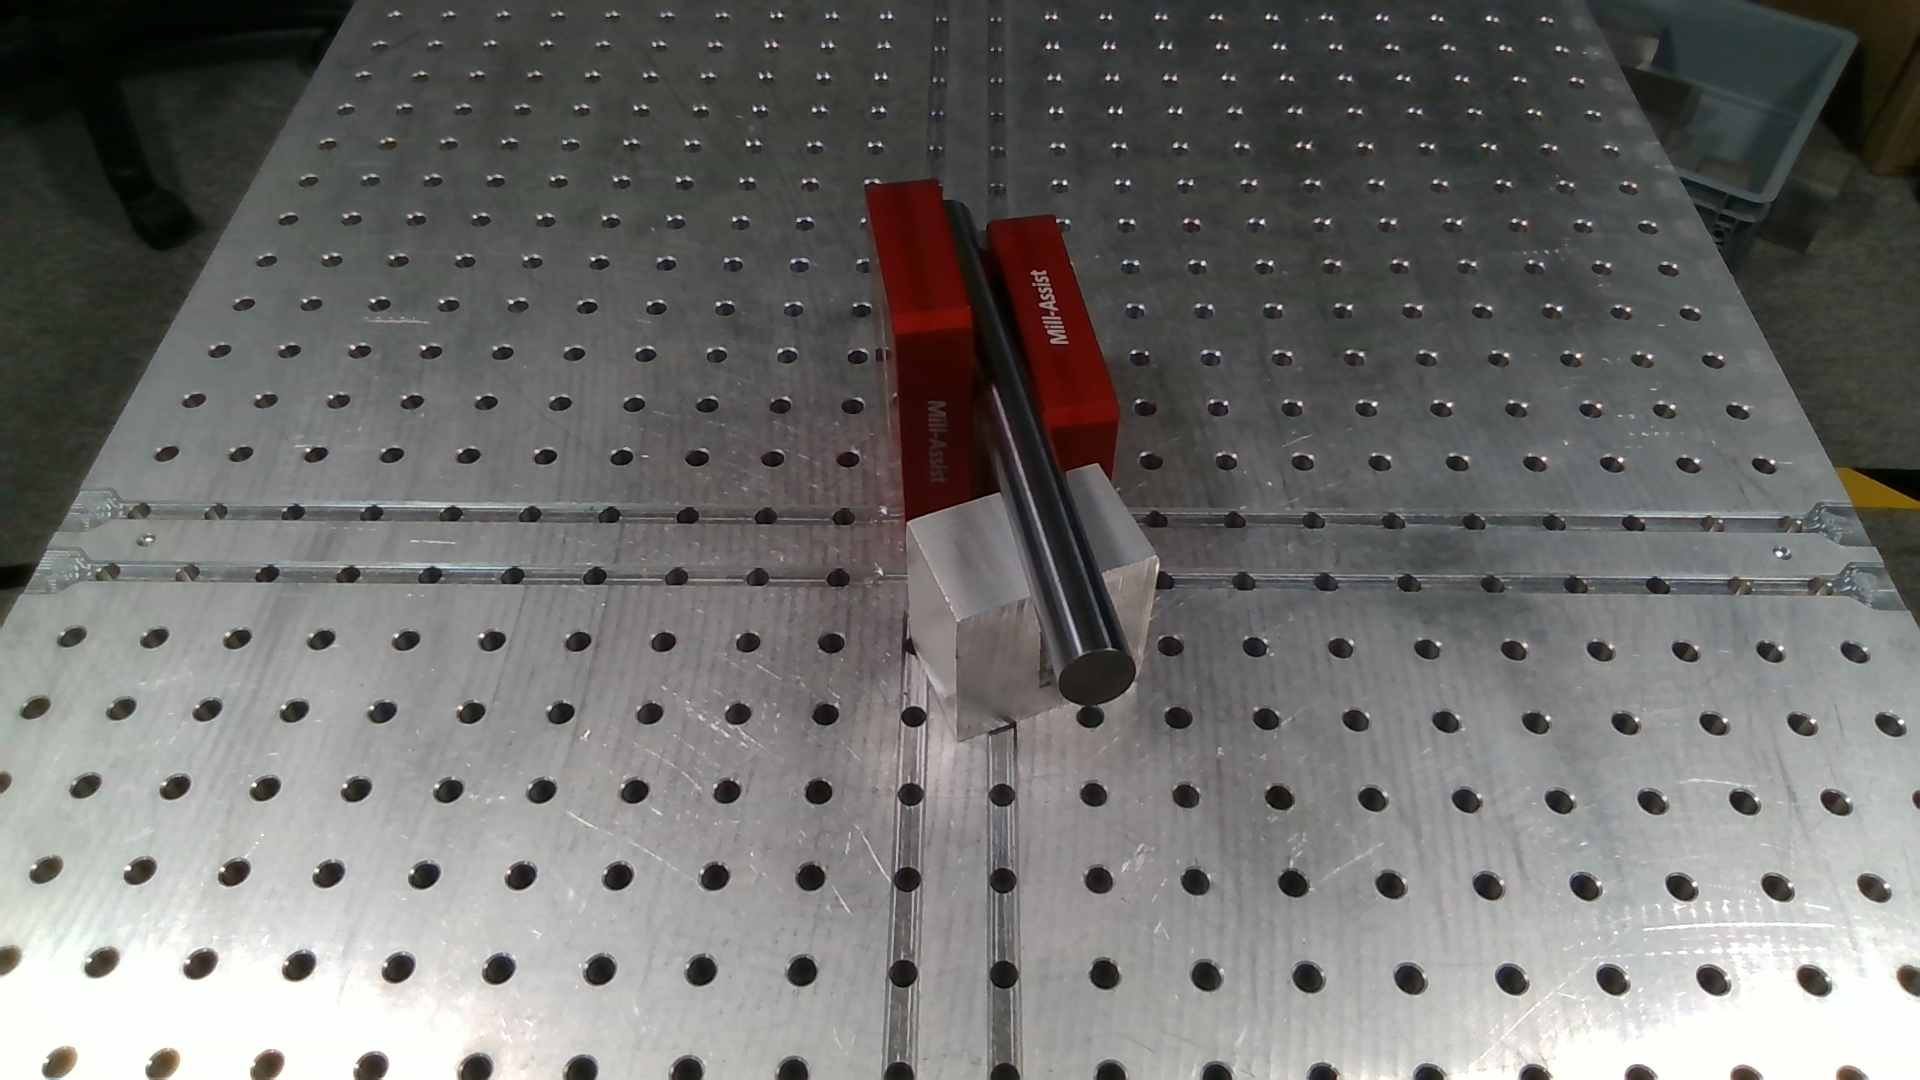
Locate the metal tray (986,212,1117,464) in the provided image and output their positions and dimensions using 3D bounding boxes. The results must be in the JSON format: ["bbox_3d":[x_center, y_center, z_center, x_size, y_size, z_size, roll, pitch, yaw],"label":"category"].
[{"bbox_3d":[0.037,-0.069,0.604,0.030,0.090,0.130,-8,51,-5],"label":"metal tray"}]

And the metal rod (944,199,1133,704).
[{"bbox_3d":[0.017,-0.054,0.536,0.025,0.025,0.299,-7,41,-6],"label":"metal rod"}]

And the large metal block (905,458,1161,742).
[{"bbox_3d":[0.026,0.024,0.533,0.080,0.080,0.050,-18,52,-14],"label":"large metal block"}]

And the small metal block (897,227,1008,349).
[{"bbox_3d":[-0.004,-0.124,0.677,0.050,0.050,0.025,-6,50,-5],"label":"small metal block"}]

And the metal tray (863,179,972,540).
[{"bbox_3d":[-0.017,-0.073,0.582,0.030,0.130,0.090,-8,51,-6],"label":"metal tray"}]
